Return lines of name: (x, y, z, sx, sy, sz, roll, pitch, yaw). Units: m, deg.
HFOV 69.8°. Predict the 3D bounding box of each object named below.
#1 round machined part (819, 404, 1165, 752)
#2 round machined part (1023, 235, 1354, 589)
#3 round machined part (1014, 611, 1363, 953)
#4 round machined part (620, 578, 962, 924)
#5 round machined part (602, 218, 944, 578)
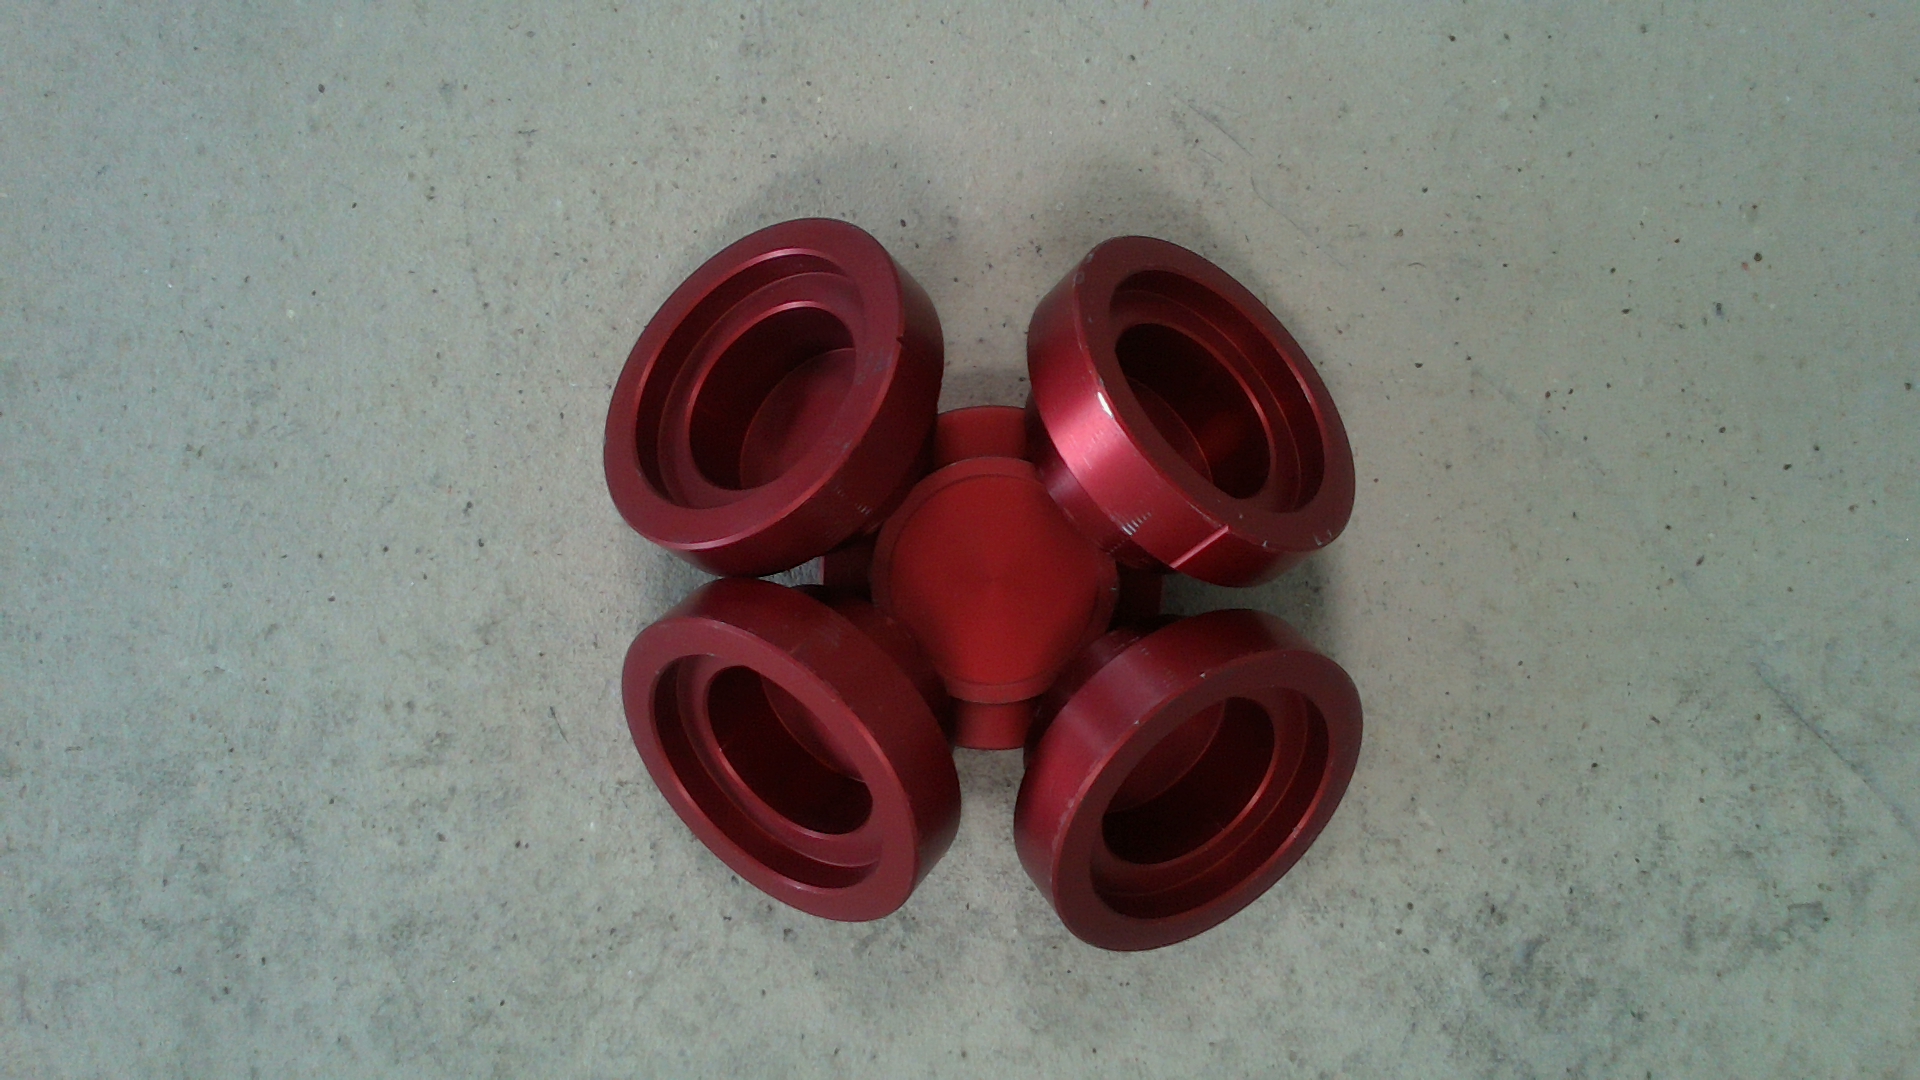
round machined part: (0.009, 0.011, 0.387, 0.098, 0.042, 0.098, 0, 88, -1)
round machined part: (0.056, -0.030, 0.370, 0.098, 0.098, 0.042, 50, 131, 0)
round machined part: (0.057, 0.060, 0.371, 0.098, 0.042, 0.098, -17, 128, -23)
round machined part: (-0.040, 0.052, 0.369, 0.098, 0.098, 0.042, 46, 47, 0)
round machined part: (-0.046, -0.034, 0.371, 0.098, 0.042, 0.098, -16, 58, 27)
